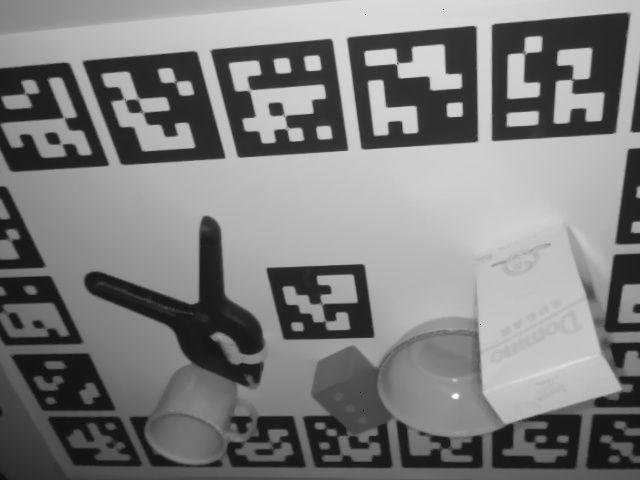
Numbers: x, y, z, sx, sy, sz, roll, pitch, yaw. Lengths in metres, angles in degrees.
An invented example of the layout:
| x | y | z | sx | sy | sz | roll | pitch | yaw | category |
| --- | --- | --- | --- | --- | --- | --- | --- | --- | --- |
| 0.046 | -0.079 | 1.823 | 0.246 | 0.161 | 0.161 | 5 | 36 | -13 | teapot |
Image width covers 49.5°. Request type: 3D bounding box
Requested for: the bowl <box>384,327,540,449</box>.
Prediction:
| x | y | z | sx | sy | sz | roll | pitch | yaw | category |
| --- | --- | --- | --- | --- | --- | --- | --- | --- | --- |
| 0.149 | 0.144 | 0.725 | 0.161 | 0.056 | 0.160 | 3 | 123 | 6 | bowl |

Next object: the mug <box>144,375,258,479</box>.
| x | y | z | sx | sy | sz | roll | pitch | yaw | category |
| --- | --- | --- | --- | --- | --- | --- | --- | --- | --- |
| -0.127 | 0.212 | 0.783 | 0.117 | 0.082 | 0.092 | 20 | 123 | -2 | mug |

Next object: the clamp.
| x | y | z | sx | sy | sz | roll | pitch | yaw | category |
| --- | --- | --- | --- | --- | --- | --- | --- | --- | --- |
| -0.111 | 0.094 | 0.727 | 0.164 | 0.037 | 0.203 | -25 | 116 | 19 | clamp |

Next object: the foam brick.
| x | y | z | sx | sy | sz | roll | pitch | yaw | category |
| --- | --- | --- | --- | --- | --- | --- | --- | --- | --- |
| 0.039 | 0.169 | 0.763 | 0.052 | 0.052 | 0.078 | -29 | 114 | 22 | foam brick |

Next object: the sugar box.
| x | y | z | sx | sy | sz | roll | pitch | yaw | category |
| --- | --- | --- | --- | --- | --- | --- | --- | --- | --- |
| 0.194 | 0.062 | 0.594 | 0.092 | 0.178 | 0.045 | -25 | 114 | 24 | sugar box |
